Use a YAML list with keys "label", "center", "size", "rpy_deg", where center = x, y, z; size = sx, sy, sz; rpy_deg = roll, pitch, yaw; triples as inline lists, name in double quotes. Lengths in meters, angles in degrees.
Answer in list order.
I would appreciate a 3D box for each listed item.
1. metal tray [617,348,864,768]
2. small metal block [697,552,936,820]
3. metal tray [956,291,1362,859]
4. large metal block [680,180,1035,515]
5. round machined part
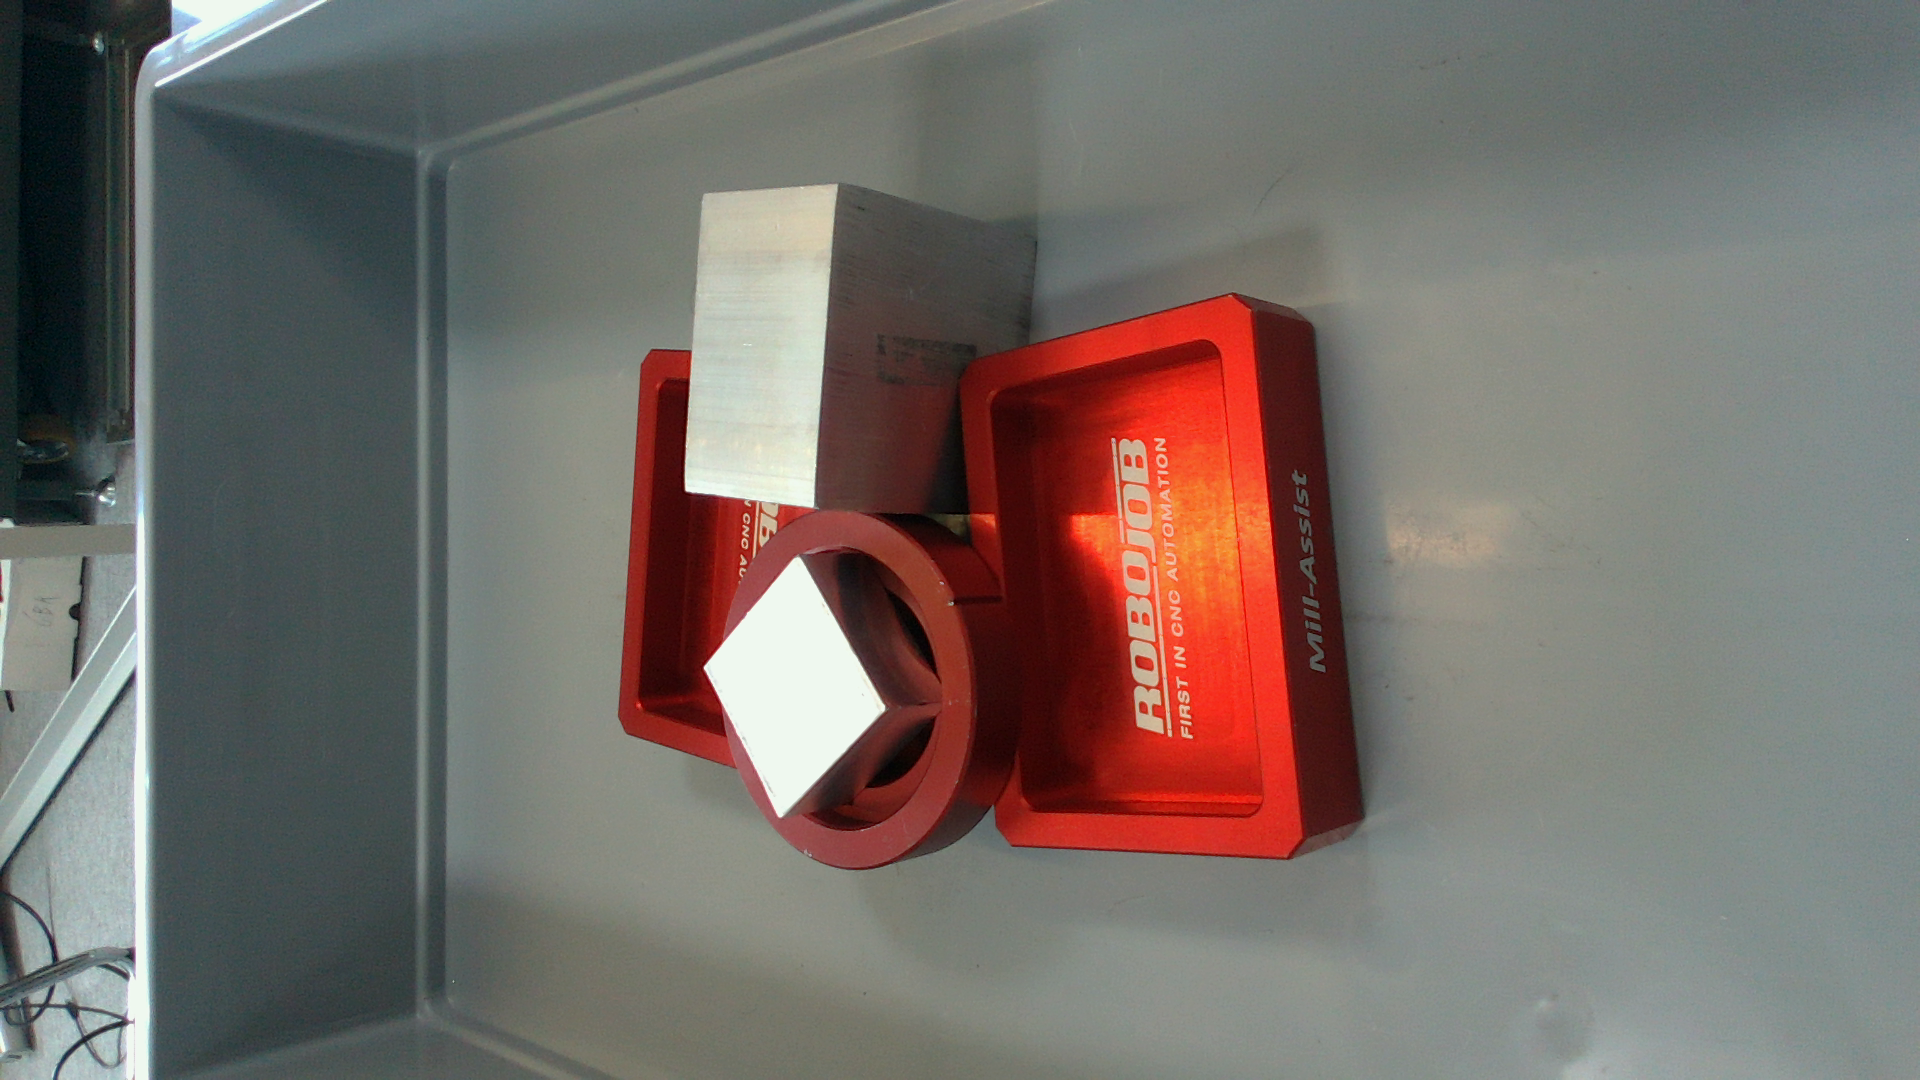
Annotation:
- label: "metal tray"
  center: [-0.069, 0.005, 0.447]
  size: [0.090, 0.030, 0.130]
  rpy_deg: [8, 95, 40]
- label: "small metal block"
  center: [-0.038, 0.039, 0.370]
  size: [0.050, 0.025, 0.050]
  rpy_deg: [-47, 62, 30]
- label: "metal tray"
  center: [0.047, 0.012, 0.350]
  size: [0.090, 0.030, 0.130]
  rpy_deg: [-9, 85, 40]
- label: "large metal block"
  center: [-0.027, -0.049, 0.379]
  size: [0.050, 0.080, 0.080]
  rpy_deg: [8, 95, 40]
- label: "round machined part"
  center: [-0.020, 0.040, 0.387]
  size: [0.098, 0.042, 0.098]
  rpy_deg: [0, 90, 40]
